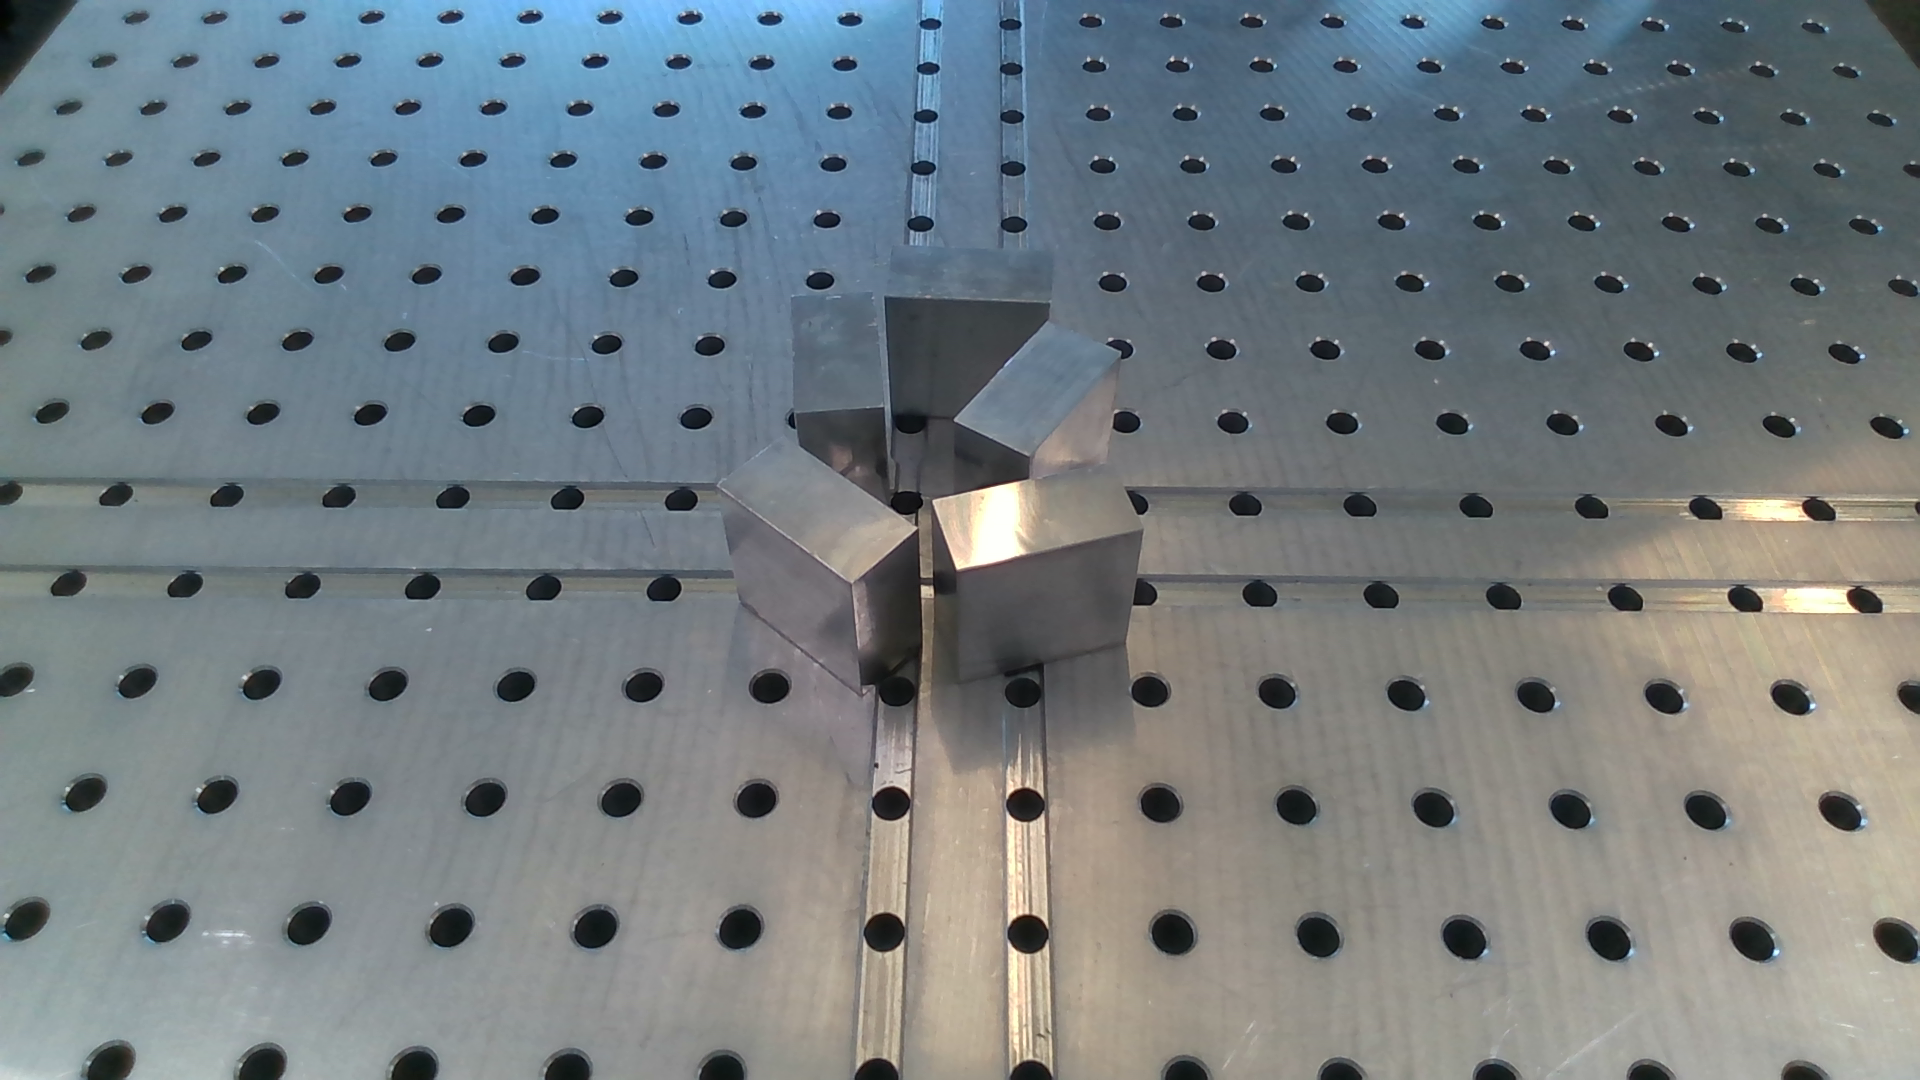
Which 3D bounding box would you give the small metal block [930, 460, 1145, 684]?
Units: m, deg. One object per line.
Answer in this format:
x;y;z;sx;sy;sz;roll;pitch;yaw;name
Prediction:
0.019;0.009;0.372;0.050;0.050;0.025;-12;51;-11;small metal block

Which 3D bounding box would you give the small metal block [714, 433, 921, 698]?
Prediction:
-0.038;0.007;0.374;0.050;0.050;0.025;35;57;25;small metal block

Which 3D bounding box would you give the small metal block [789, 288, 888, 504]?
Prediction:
-0.036;-0.039;0.413;0.025;0.050;0.050;-4;50;-3;small metal block

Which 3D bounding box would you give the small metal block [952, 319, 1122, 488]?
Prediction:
0.022;-0.027;0.403;0.025;0.050;0.050;27;55;21;small metal block

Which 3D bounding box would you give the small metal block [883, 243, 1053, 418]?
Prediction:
0.003;-0.065;0.435;0.050;0.050;0.025;2;50;3;small metal block
